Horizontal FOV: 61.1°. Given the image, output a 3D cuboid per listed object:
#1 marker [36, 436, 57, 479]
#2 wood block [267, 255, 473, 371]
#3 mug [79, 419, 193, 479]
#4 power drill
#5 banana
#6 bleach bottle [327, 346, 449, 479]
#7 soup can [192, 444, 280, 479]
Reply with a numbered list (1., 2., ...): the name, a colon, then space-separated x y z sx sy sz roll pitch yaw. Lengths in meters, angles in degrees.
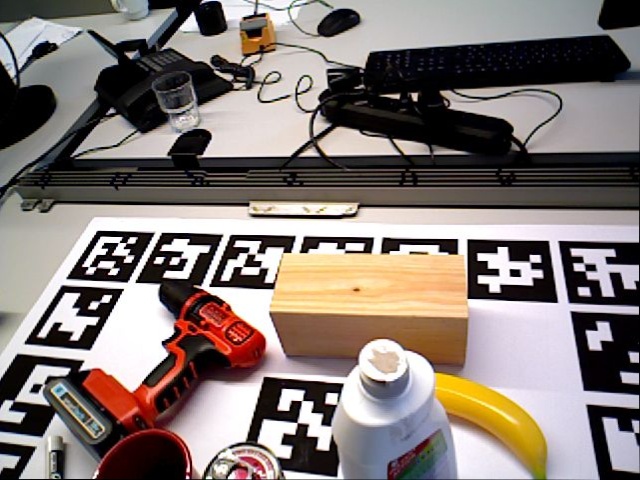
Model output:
1. marker: -0.275 0.254 0.544 0.019 0.020 0.120 -21 45 -7
2. wood block: 0.058 0.079 0.596 0.207 0.092 0.088 1 46 14
3. mug: -0.167 0.231 0.493 0.115 0.083 0.093 -33 50 -17
4. power drill: -0.183 0.141 0.615 0.185 0.058 0.183 28 55 30
5. banana: 0.122 0.159 0.532 0.198 0.039 0.073 16 64 23
6. bleach bottle: 0.055 0.154 0.400 0.068 0.255 0.100 27 54 33
7. soup can: -0.063 0.221 0.458 0.068 0.104 0.067 -5 40 3
